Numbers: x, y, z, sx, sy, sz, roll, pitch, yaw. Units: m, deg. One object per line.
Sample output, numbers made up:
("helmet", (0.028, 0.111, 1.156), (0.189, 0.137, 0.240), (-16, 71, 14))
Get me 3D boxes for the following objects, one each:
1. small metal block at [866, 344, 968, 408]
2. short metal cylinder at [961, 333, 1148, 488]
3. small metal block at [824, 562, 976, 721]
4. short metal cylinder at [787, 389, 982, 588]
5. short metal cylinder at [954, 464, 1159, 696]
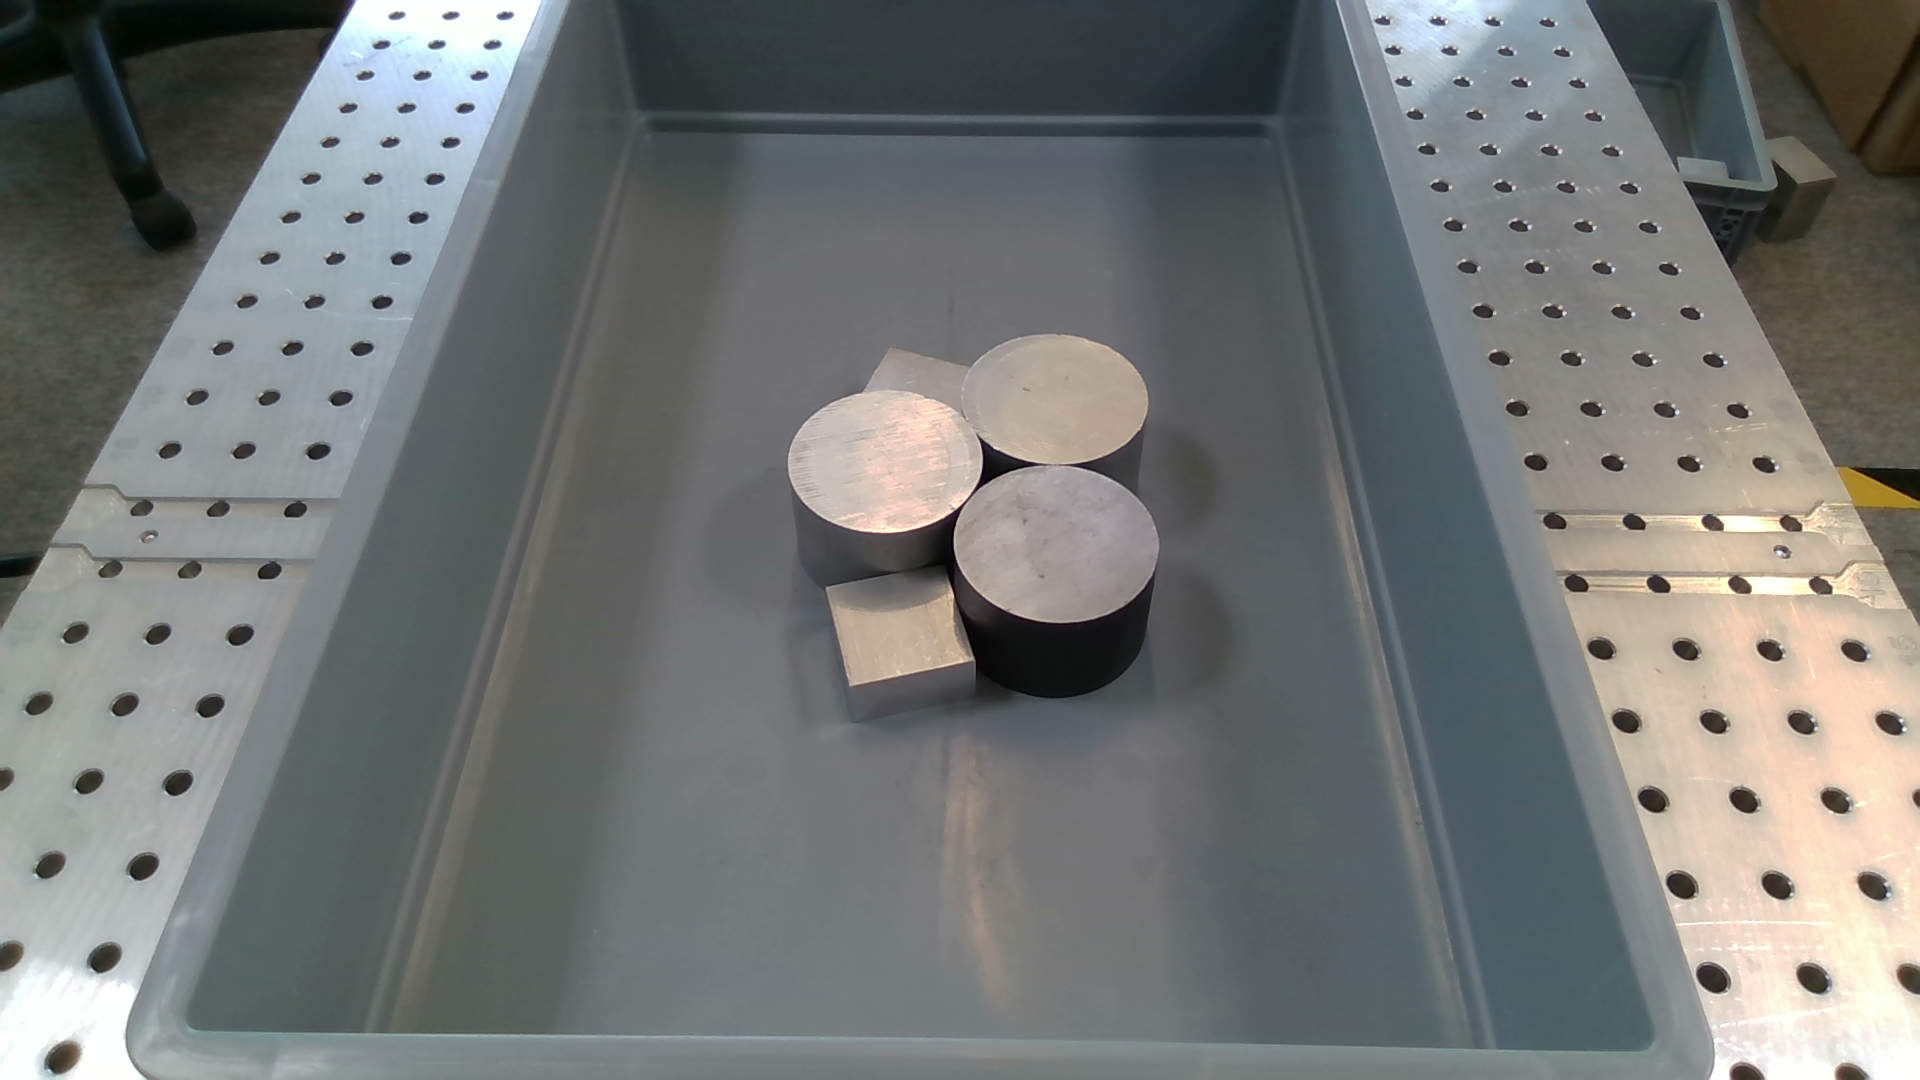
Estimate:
("small metal block", (-0.018, -0.059, 0.635), (0.050, 0.025, 0.050), (16, 52, 13))
("short metal cylinder", (0.040, -0.046, 0.608), (0.080, 0.050, 0.080), (0, 50, 0))
("small metal block", (-0.024, 0.040, 0.553), (0.050, 0.025, 0.050), (-11, 51, -9))
("short metal cylinder", (-0.031, -0.018, 0.584), (0.080, 0.050, 0.080), (0, 50, 0))
("short metal cylinder", (0.038, 0.016, 0.556), (0.080, 0.050, 0.080), (0, 50, 0))
